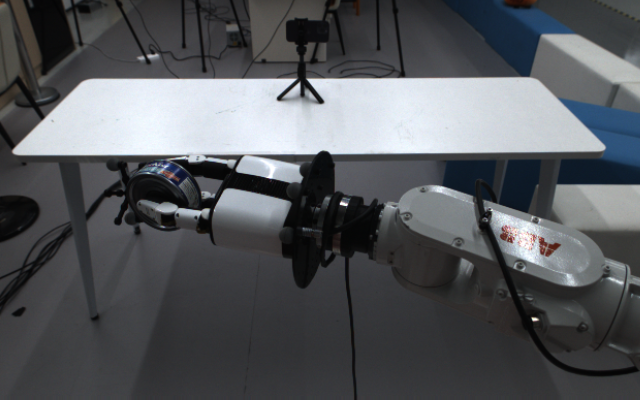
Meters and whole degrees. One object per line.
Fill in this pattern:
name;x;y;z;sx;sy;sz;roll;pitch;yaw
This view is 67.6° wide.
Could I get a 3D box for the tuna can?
tuna can;-0.190;-0.005;0.594;0.085;0.085;0.034;9;34;10
